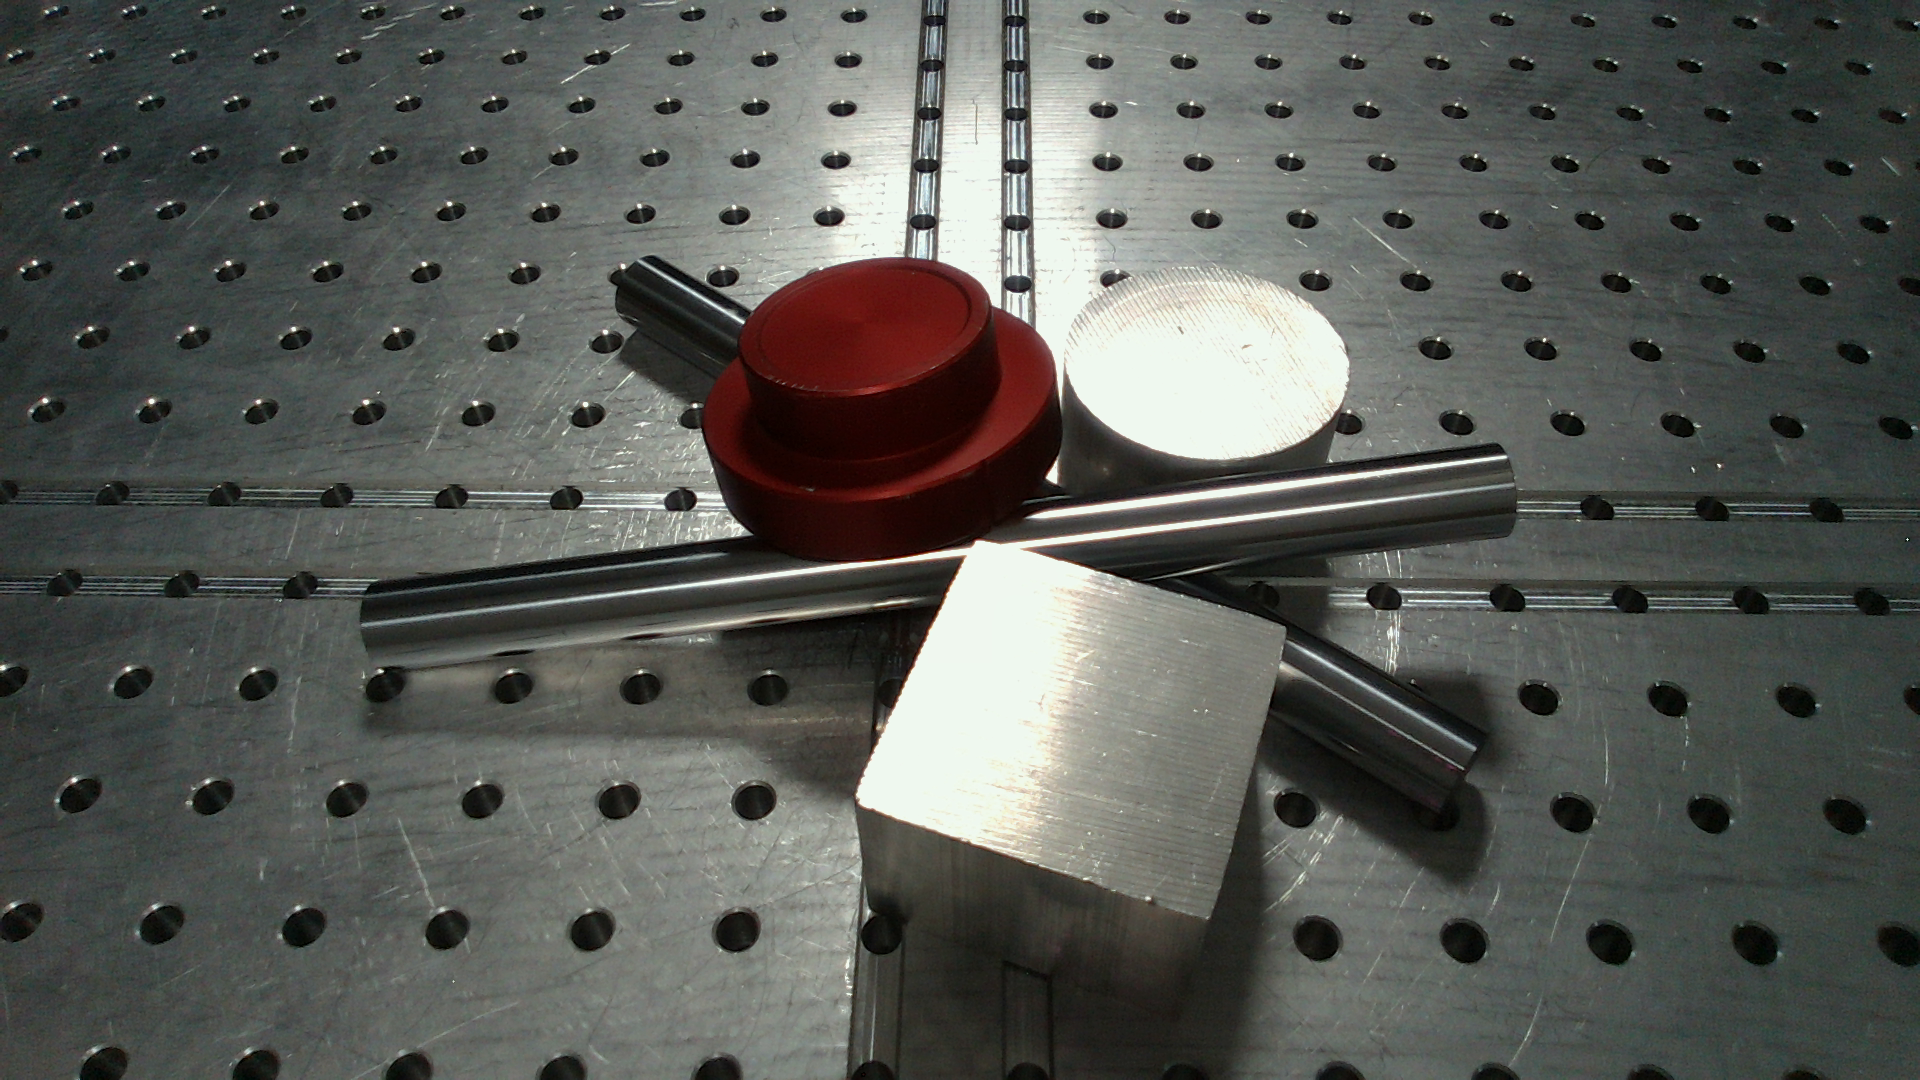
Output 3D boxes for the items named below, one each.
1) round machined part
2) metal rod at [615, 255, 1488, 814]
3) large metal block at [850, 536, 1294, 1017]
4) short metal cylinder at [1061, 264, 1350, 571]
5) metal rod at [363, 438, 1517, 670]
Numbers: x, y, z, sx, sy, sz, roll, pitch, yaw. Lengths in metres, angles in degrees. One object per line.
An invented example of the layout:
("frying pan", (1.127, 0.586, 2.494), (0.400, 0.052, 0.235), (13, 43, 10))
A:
("round machined part", (-0.023, -0.041, 0.374), (0.098, 0.042, 0.098), (-4, 41, 4))
("metal rod", (0.010, -0.013, 0.406), (0.299, 0.025, 0.025), (32, 57, 24))
("large metal block", (0.028, 0.054, 0.330), (0.080, 0.050, 0.080), (16, 52, 13))
("short metal cylinder", (0.070, -0.036, 0.408), (0.080, 0.050, 0.080), (0, 50, 0))
("metal rod", (-0.008, 0.005, 0.367), (0.300, 0.025, 0.025), (-7, 50, 3))
